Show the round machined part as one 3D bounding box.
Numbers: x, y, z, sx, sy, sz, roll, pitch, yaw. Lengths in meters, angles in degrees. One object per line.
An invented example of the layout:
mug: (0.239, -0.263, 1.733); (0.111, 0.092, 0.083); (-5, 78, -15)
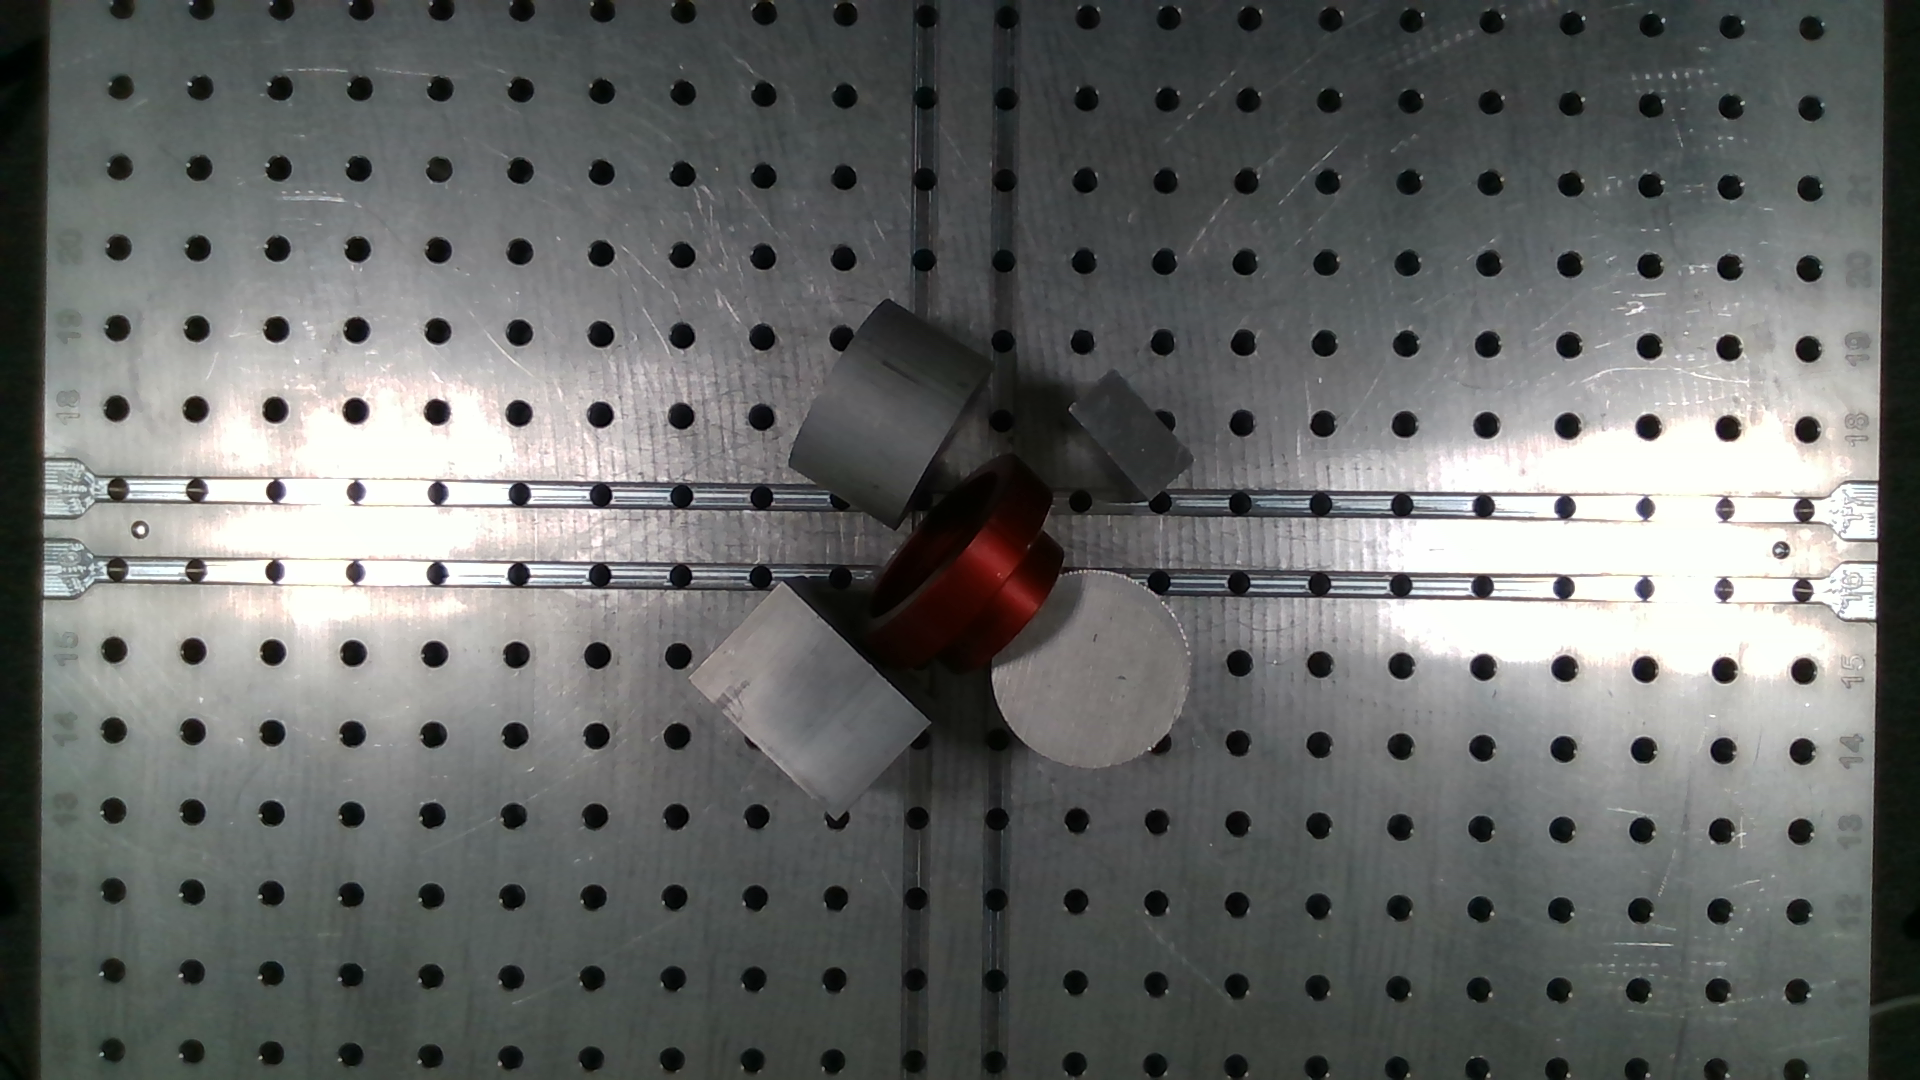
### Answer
round machined part: (0.004, 0.015, 0.553); (0.042, 0.098, 0.098); (41, 90, -12)

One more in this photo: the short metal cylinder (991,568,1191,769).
short metal cylinder: (0.053, 0.052, 0.577); (0.080, 0.050, 0.080); (0, 90, 0)

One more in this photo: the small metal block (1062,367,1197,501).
small metal block: (0.069, -0.043, 0.576); (0.025, 0.050, 0.050); (-42, 90, 0)

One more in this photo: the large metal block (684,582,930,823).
large metal block: (-0.059, 0.062, 0.563); (0.080, 0.080, 0.050); (43, 90, 0)

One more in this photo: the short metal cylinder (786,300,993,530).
short metal cylinder: (-0.028, -0.051, 0.561); (0.050, 0.080, 0.080); (31, 90, 0)
